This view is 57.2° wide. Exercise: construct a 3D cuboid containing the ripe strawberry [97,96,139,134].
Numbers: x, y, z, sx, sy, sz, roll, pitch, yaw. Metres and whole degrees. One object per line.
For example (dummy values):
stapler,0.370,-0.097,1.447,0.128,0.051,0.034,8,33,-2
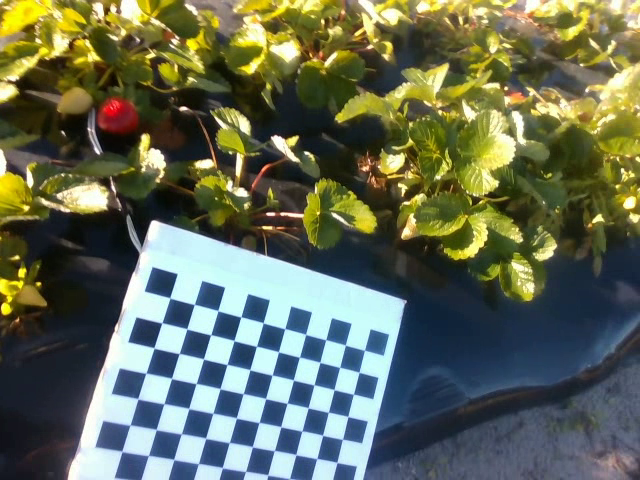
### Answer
ripe strawberry,-0.256,-0.163,0.748,0.040,0.063,0.080,-33,18,28
